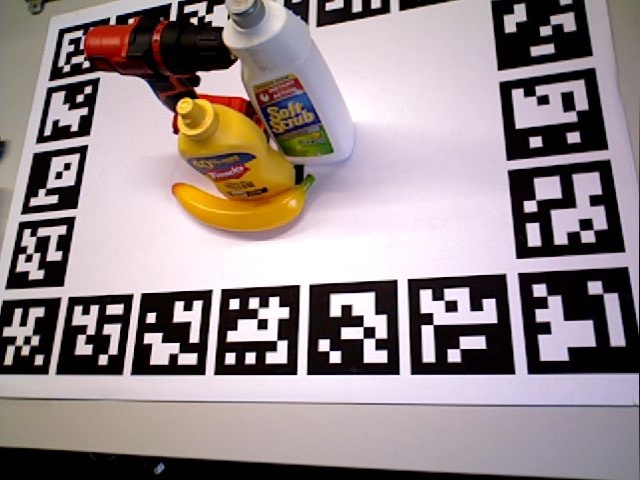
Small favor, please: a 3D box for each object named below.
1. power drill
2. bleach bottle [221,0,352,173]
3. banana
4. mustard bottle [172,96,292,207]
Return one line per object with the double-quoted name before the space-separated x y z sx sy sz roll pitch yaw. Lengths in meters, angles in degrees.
"power drill" -0.144 -0.167 0.597 0.185 0.188 0.057 9 74 19
"bleach bottle" -0.040 -0.162 0.556 0.103 0.252 0.067 0 66 17
"banana" -0.099 -0.038 0.659 0.198 0.039 0.074 1 75 21
"mustard bottle" -0.102 -0.095 0.583 0.097 0.192 0.058 -3 71 16
